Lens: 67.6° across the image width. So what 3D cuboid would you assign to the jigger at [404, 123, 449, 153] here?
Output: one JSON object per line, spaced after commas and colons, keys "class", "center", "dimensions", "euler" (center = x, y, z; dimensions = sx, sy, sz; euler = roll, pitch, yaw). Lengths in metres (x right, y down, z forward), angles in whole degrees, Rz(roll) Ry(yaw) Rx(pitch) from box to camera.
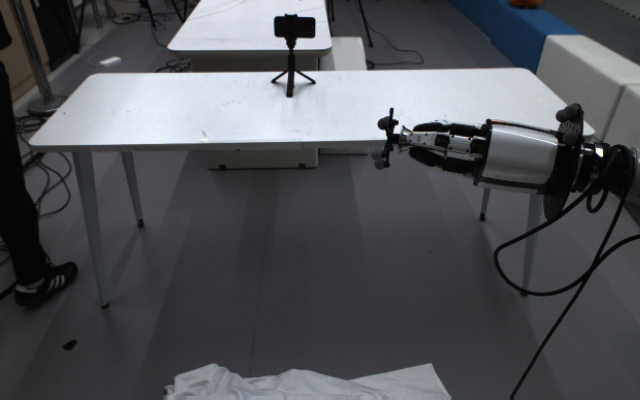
{"class": "jigger", "center": [0.156, -0.088, 0.697], "dimensions": [0.071, 0.043, 0.043], "euler": [8, 35, 16]}
